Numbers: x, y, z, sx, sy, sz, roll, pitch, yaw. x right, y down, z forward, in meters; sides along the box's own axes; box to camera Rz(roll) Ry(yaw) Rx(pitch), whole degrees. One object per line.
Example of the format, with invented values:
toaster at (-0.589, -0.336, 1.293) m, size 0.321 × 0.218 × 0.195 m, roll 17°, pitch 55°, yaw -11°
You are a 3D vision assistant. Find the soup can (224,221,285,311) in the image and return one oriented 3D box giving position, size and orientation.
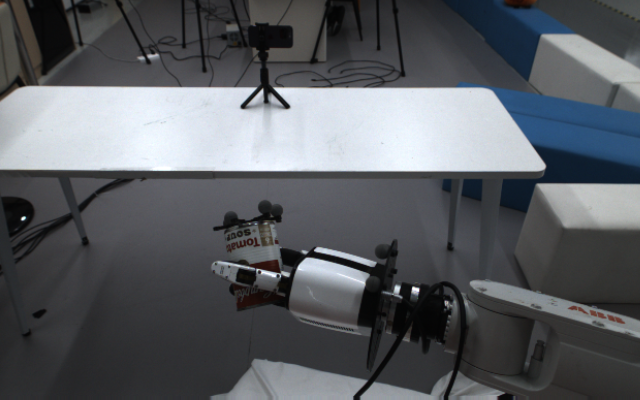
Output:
soup can at (-0.078, 0.084, 0.612) m, size 0.067 × 0.067 × 0.101 m, roll -10°, pitch 80°, yaw -17°
